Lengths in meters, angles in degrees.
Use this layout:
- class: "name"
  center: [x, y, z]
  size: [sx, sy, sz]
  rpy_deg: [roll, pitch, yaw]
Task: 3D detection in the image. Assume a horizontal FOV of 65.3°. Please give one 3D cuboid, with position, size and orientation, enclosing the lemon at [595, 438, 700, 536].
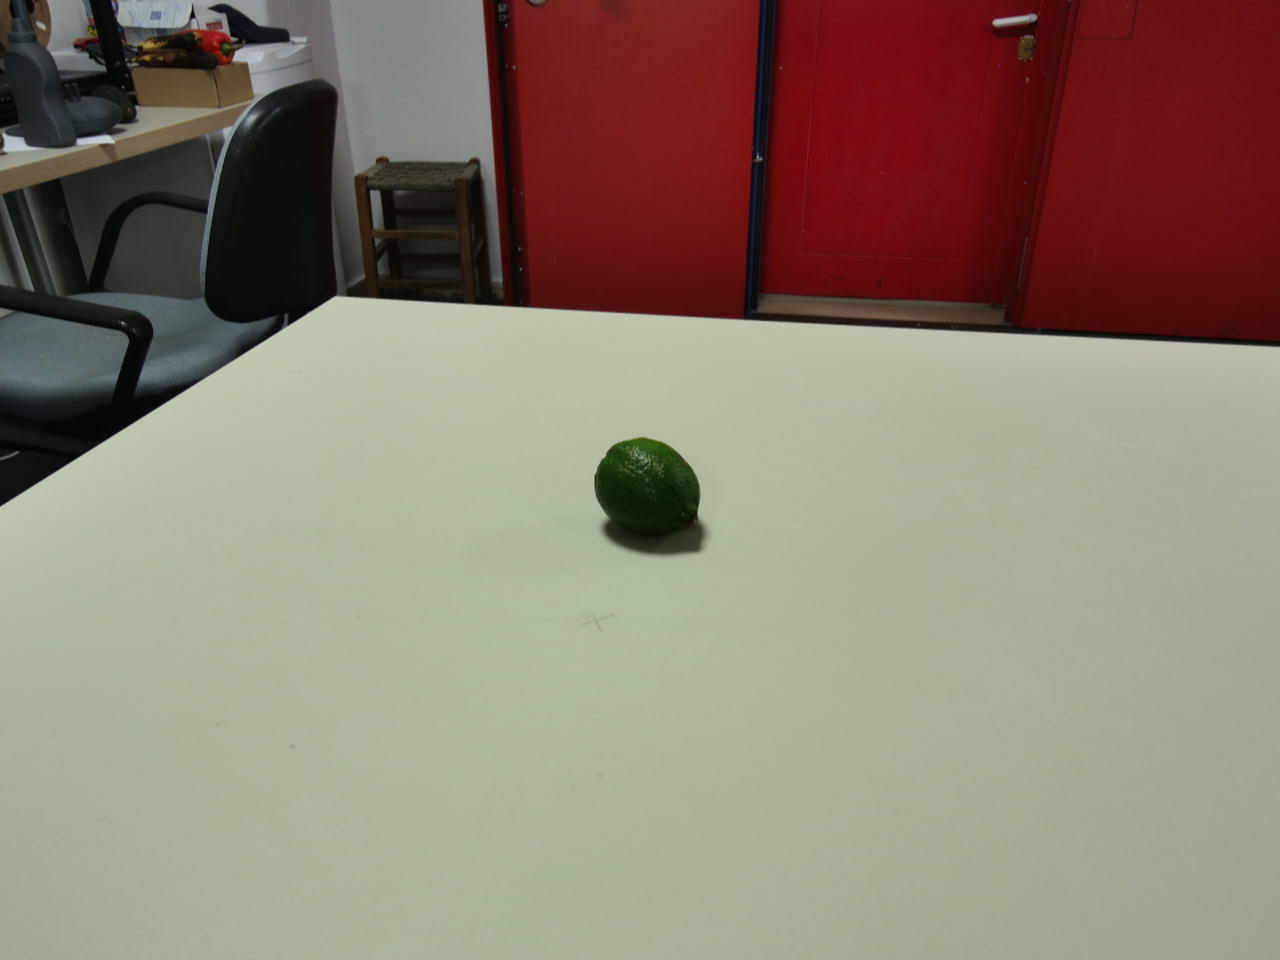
- class: "lemon"
  center: [0.004, 0.003, 0.542]
  size: [0.057, 0.051, 0.054]
  rpy_deg: [2, 26, 8]
